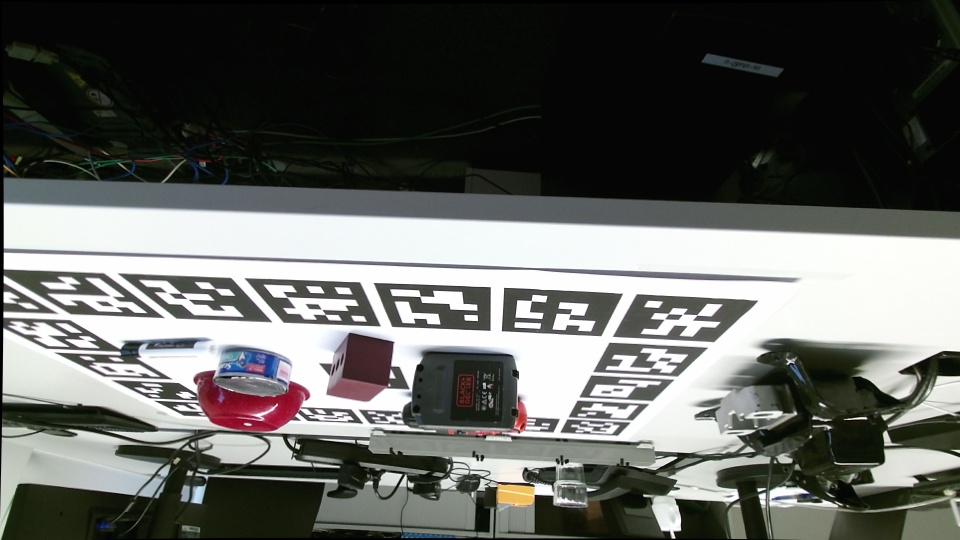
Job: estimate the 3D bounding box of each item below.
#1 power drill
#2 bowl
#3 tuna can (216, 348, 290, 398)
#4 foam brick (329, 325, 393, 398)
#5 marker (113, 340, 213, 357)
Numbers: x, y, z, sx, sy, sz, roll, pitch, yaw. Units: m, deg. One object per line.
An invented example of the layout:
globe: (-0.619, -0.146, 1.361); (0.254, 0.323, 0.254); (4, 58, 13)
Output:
power drill: (-0.016, 0.168, 0.676); (0.185, 0.057, 0.187); (5, 152, 6)
bowl: (-0.324, 0.190, 0.761); (0.162, 0.055, 0.162); (0, 156, 0)
tuna can: (-0.277, 0.126, 0.647); (0.086, 0.033, 0.086); (5, 149, 3)
foam brick: (-0.133, 0.102, 0.587); (0.051, 0.052, 0.078); (16, 146, -17)
marker: (-0.363, 0.090, 0.610); (0.121, 0.019, 0.020); (-3, 147, 11)
